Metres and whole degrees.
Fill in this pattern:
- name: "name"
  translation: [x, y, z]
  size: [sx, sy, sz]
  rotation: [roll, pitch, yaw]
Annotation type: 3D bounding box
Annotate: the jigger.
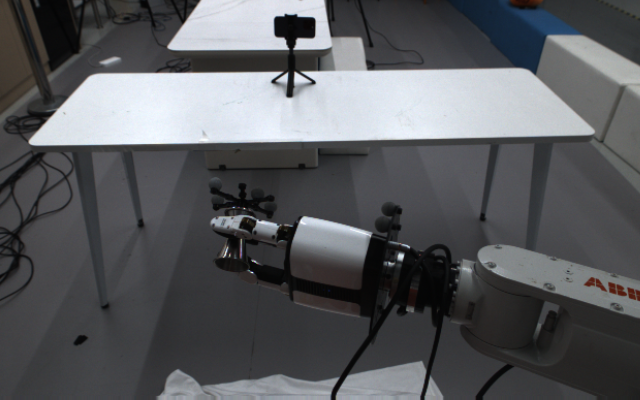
- name: "jigger"
  translation: [-0.102, 0.046, 0.585]
  size: [0.043, 0.043, 0.071]
  rotation: [4, 60, 3]
